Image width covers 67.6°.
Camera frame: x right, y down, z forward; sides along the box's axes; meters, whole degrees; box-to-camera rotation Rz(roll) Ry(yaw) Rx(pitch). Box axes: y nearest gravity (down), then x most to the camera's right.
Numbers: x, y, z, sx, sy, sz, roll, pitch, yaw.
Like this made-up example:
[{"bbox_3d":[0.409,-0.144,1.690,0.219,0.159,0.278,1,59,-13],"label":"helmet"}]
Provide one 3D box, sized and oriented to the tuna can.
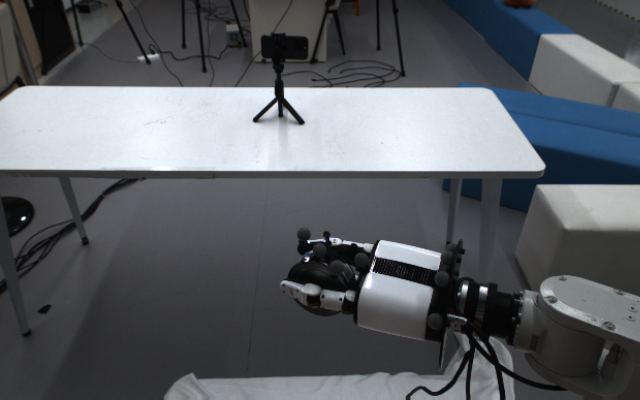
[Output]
[{"bbox_3d":[0.006,0.106,0.633,0.085,0.085,0.034,16,29,19],"label":"tuna can"}]
